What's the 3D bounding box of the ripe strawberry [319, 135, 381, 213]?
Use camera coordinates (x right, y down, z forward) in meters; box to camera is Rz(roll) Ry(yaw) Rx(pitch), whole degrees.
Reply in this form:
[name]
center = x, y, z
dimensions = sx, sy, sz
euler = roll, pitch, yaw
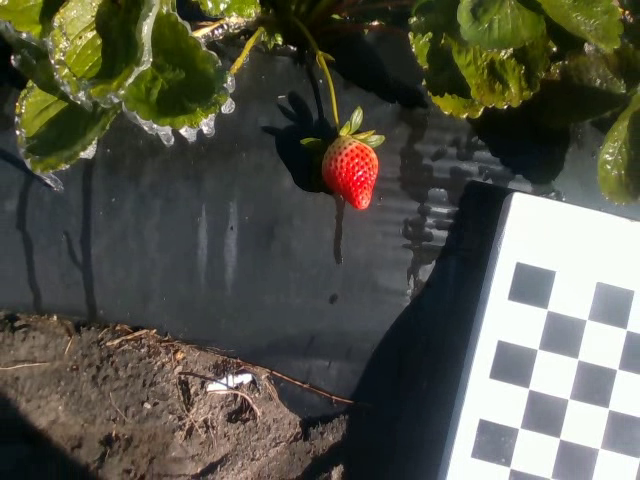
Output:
[ripe strawberry]
center = 0.021, -0.038, 0.343
dimensions = 0.039, 0.053, 0.041
euler = -8, -21, 0
